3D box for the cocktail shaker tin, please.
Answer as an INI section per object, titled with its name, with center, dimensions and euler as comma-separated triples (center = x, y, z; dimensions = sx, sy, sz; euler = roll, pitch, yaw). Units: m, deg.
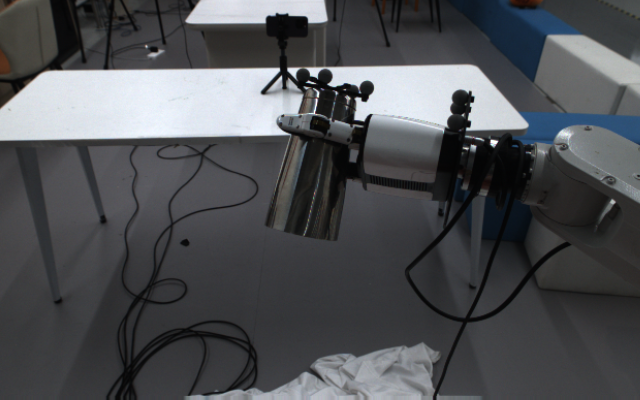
[cocktail shaker tin]
center = -0.002, -0.046, 0.592
dimensions = 0.093, 0.170, 0.093
euler = 13, 1, 0
